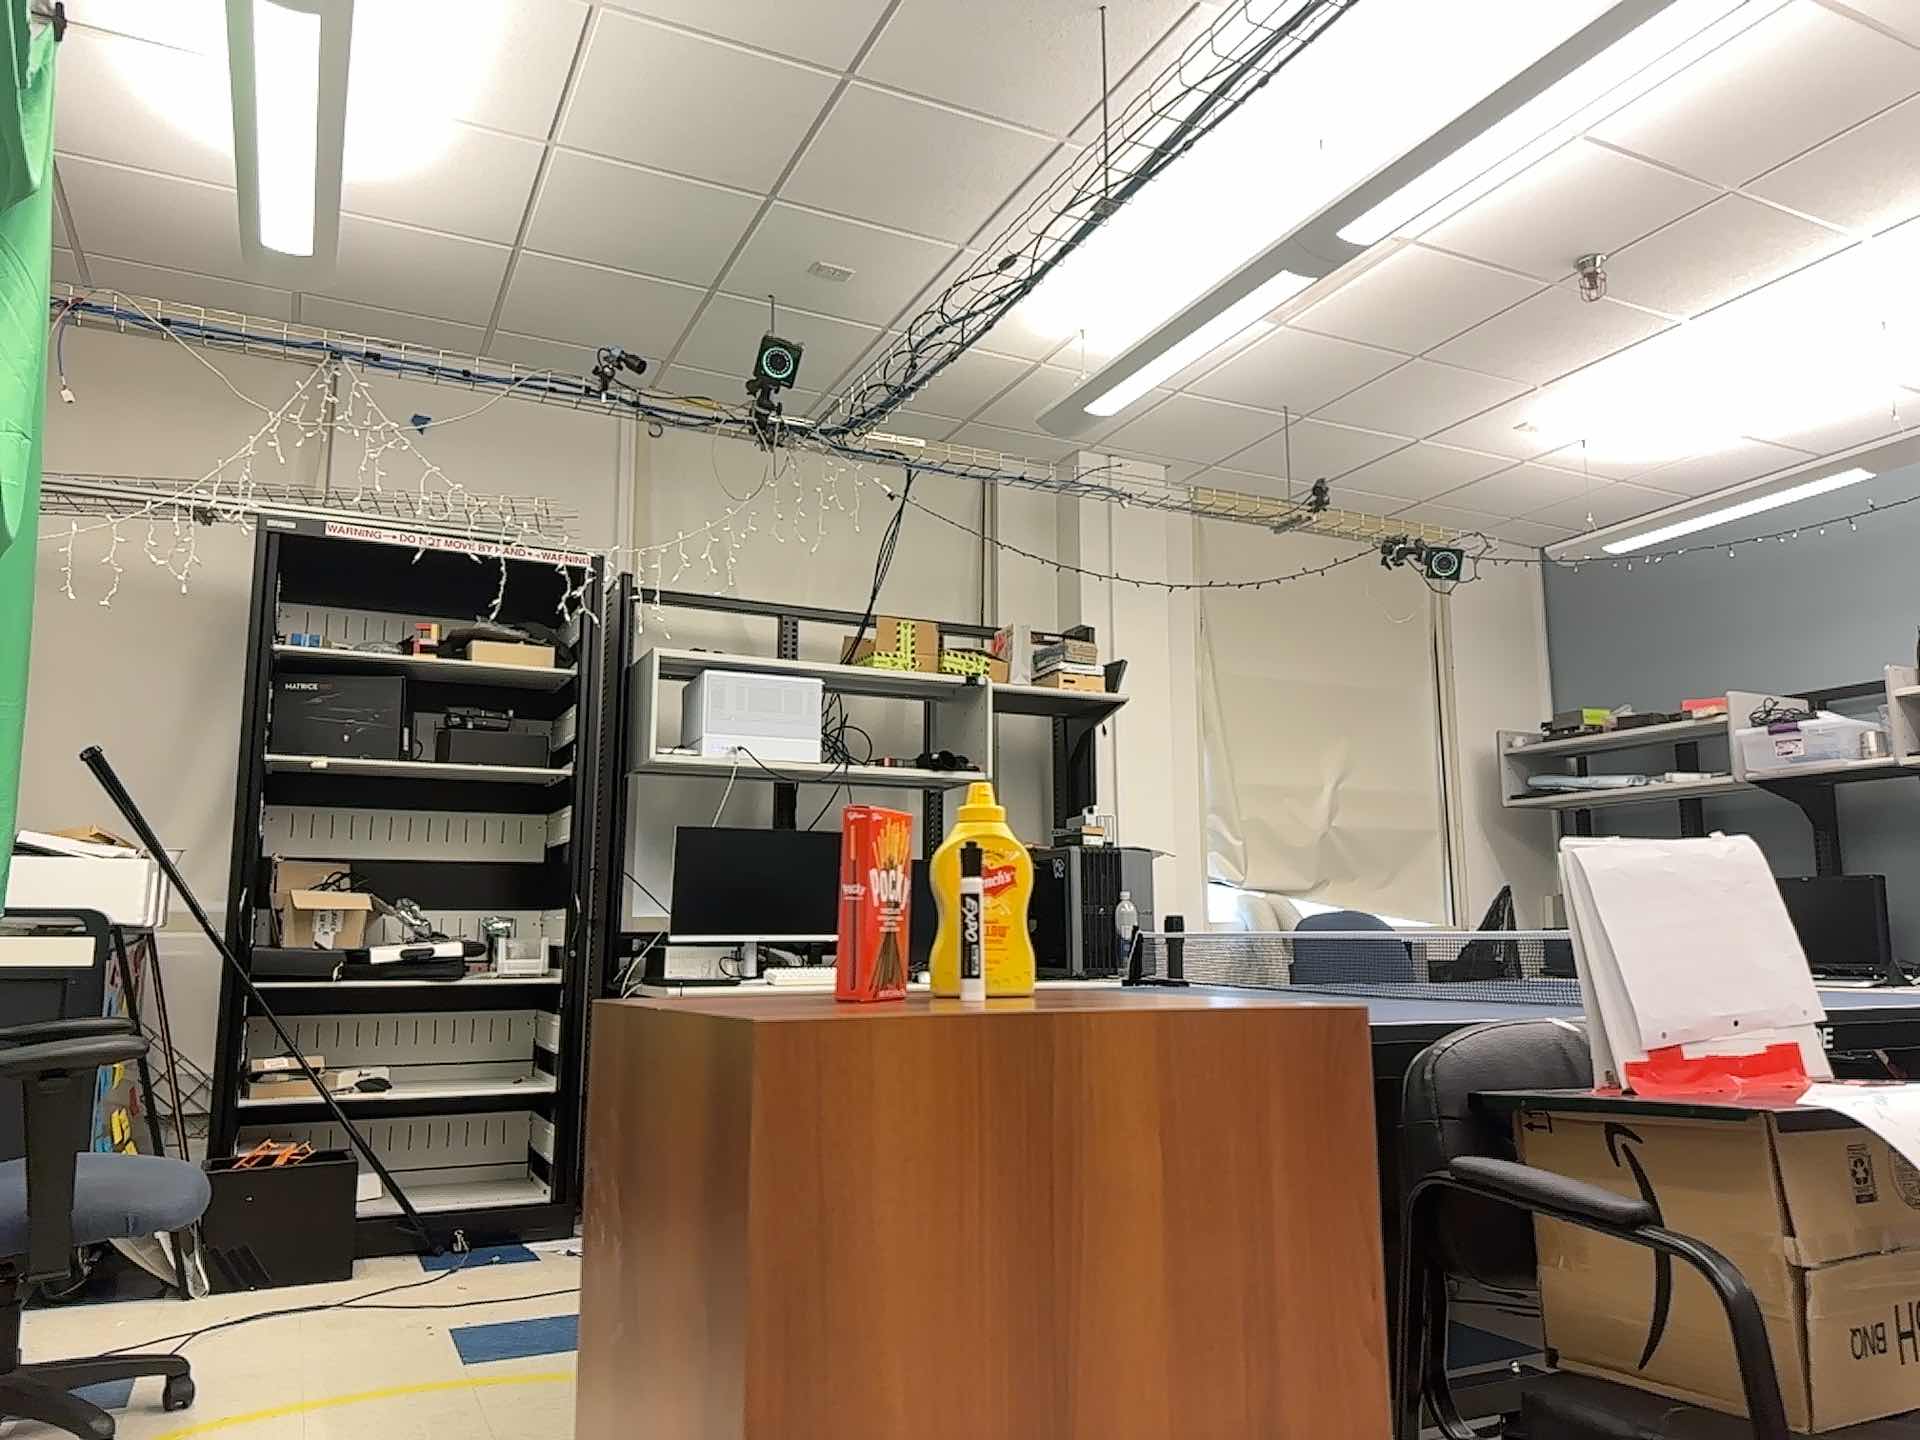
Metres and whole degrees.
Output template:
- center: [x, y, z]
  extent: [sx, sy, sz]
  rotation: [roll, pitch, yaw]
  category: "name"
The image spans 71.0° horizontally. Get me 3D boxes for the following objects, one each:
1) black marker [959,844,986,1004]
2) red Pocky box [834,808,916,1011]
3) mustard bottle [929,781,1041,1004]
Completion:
- center: [0.009, 0.156, 1.035]
  extent: [0.020, 0.121, 0.020]
  rotation: [-1, -12, 0]
  category: "black marker"
- center: [-0.066, 0.148, 1.058]
  extent: [0.028, 0.155, 0.083]
  rotation: [-3, -8, 28]
  category: "red Pocky box"
- center: [0.020, 0.143, 1.130]
  extent: [0.092, 0.184, 0.054]
  rotation: [1, -7, -6]
  category: "mustard bottle"
